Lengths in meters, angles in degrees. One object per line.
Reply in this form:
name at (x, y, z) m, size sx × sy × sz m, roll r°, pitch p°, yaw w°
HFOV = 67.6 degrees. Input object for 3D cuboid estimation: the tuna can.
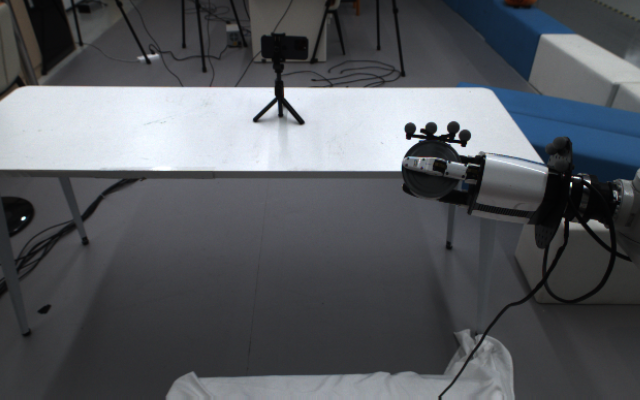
tuna can at (0.164, -0.047, 0.712) m, size 0.085 × 0.085 × 0.034 m, roll 11°, pitch -7°, yaw 12°
